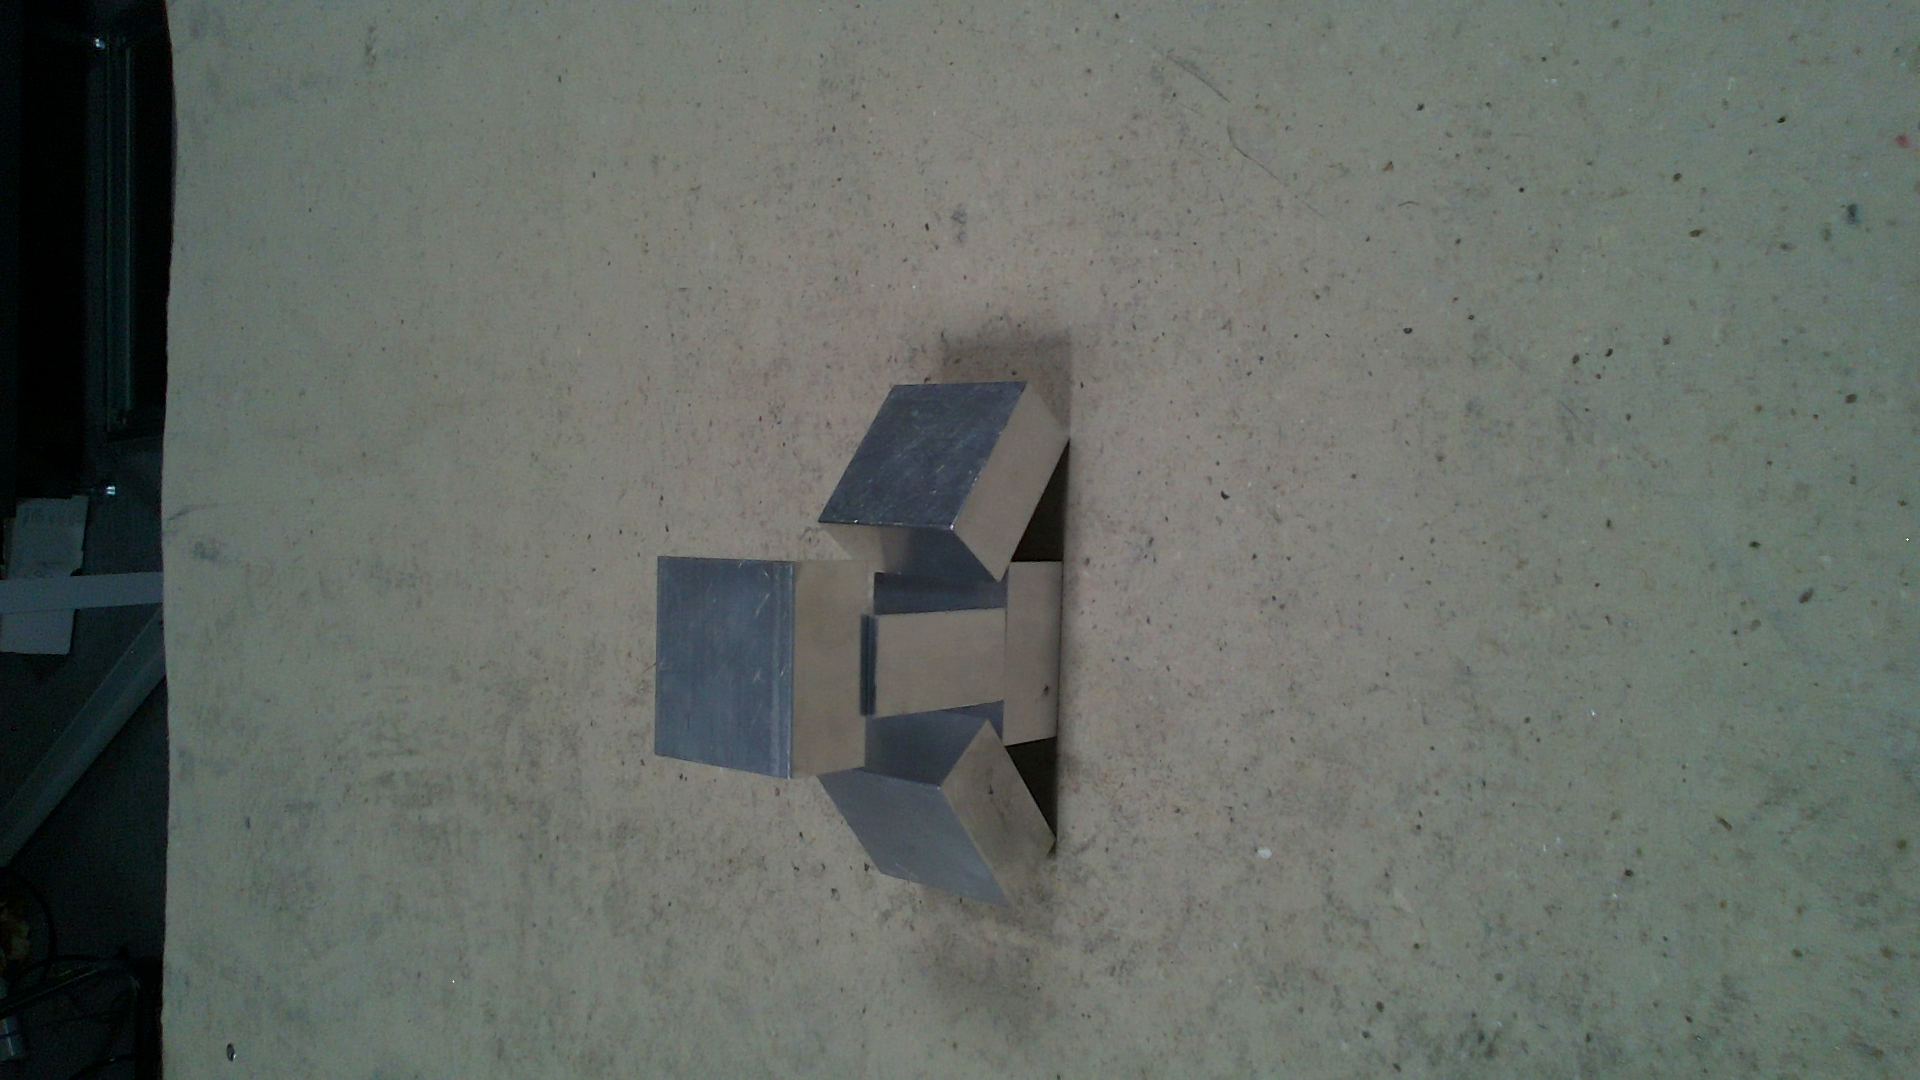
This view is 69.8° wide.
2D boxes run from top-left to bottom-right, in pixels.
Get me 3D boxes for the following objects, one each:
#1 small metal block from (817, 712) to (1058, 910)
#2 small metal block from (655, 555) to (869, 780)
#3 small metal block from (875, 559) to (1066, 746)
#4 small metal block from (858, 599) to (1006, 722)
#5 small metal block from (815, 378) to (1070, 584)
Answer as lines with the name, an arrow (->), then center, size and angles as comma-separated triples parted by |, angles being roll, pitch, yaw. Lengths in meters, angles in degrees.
small metal block -> -0.008, 0.073, 0.385 | 0.050, 0.025, 0.050 | 3, 133, 40
small metal block -> -0.049, 0.029, 0.338 | 0.050, 0.025, 0.050 | 1, 91, 40
small metal block -> 0.002, 0.029, 0.394 | 0.050, 0.025, 0.050 | 3, 92, 40
small metal block -> -0.023, 0.030, 0.365 | 0.050, 0.050, 0.025 | 3, 92, 40
small metal block -> -0.005, -0.017, 0.383 | 0.050, 0.025, 0.050 | 3, 56, 40
